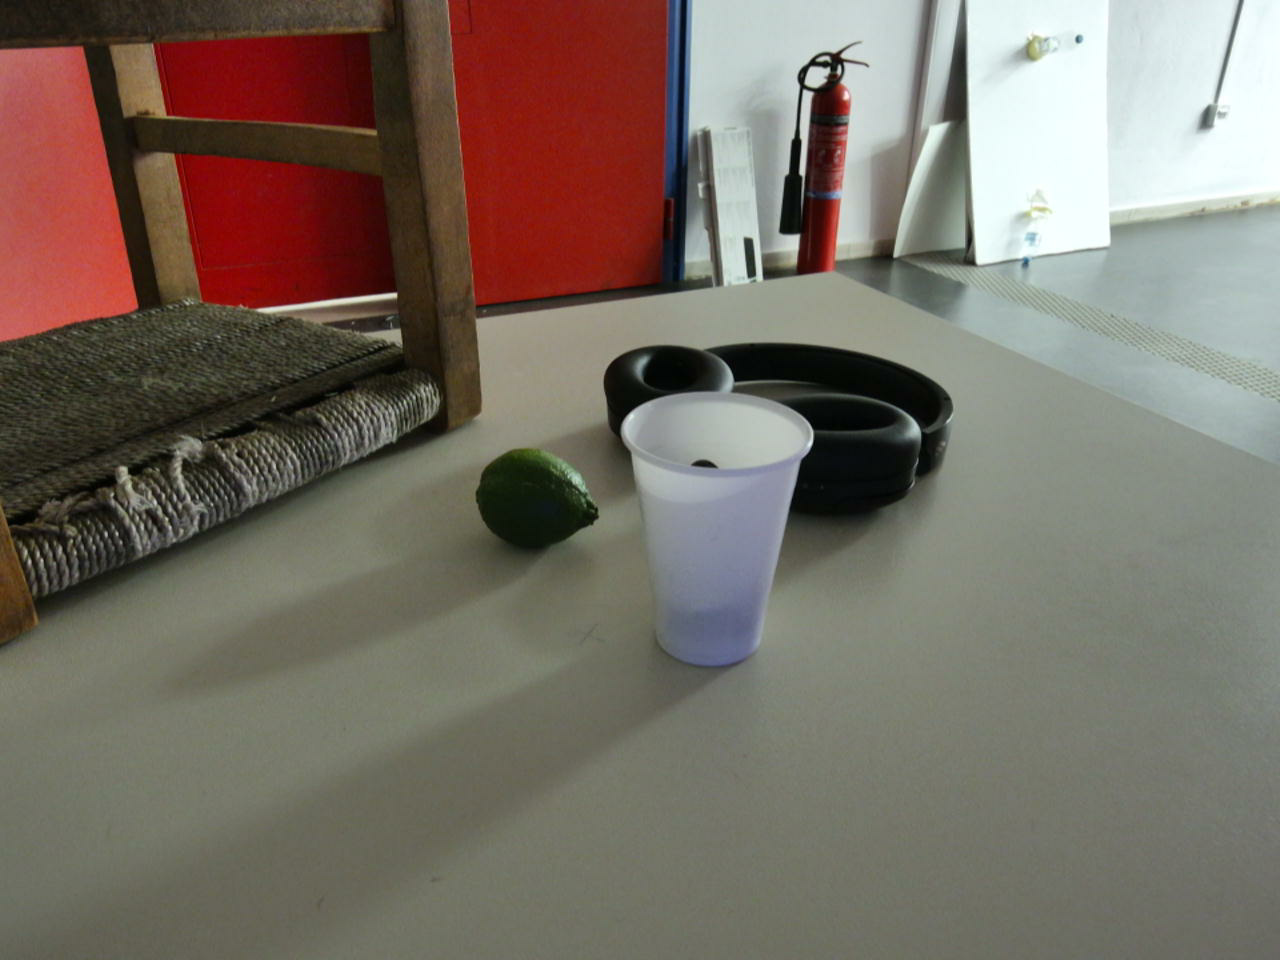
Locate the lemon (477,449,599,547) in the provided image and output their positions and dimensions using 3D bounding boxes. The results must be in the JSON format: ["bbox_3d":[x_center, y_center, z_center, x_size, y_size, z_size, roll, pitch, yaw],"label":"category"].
[{"bbox_3d":[-0.055,0.009,0.520,0.057,0.051,0.054,-13,28,-26],"label":"lemon"}]
